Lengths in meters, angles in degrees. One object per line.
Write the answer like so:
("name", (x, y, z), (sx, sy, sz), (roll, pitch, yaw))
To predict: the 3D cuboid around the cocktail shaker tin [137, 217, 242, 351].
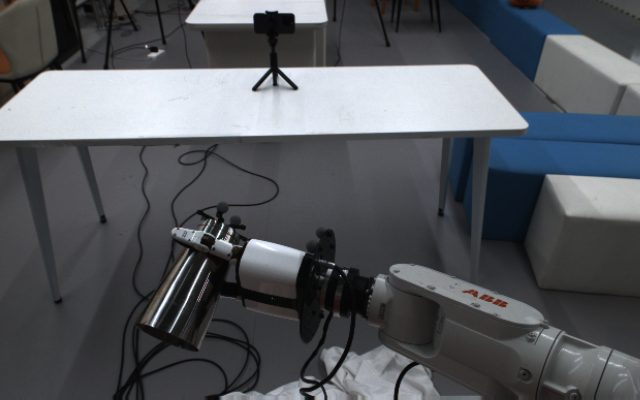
("cocktail shaker tin", (-0.177, 0.113, 0.687), (0.093, 0.093, 0.170), (13, 60, 15))
